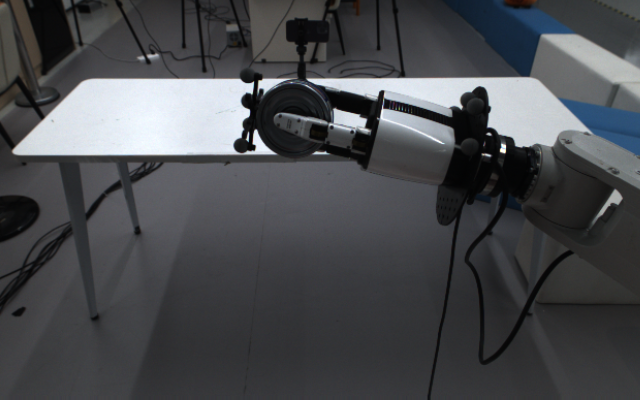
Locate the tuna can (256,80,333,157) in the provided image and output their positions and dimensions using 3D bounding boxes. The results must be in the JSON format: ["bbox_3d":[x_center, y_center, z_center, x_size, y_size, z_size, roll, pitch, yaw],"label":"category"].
[{"bbox_3d":[-0.026,-0.093,0.548,0.085,0.085,0.034,4,18,3],"label":"tuna can"}]
